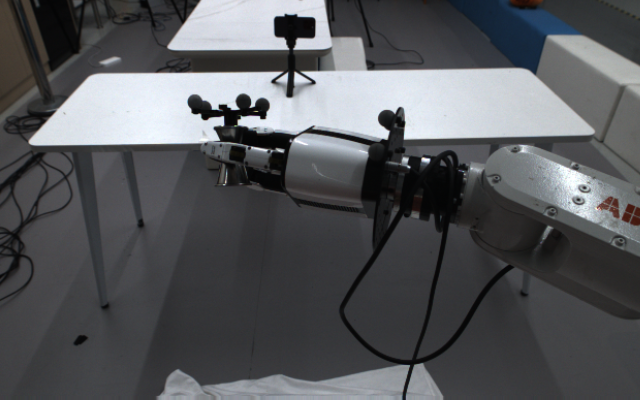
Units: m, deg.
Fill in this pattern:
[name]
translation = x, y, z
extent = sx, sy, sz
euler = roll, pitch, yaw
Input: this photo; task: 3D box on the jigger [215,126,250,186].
[jigger]
translation = -0.102, -0.050, 0.564
extent = 0.043, 0.071, 0.043
euler = -2, 3, 0
